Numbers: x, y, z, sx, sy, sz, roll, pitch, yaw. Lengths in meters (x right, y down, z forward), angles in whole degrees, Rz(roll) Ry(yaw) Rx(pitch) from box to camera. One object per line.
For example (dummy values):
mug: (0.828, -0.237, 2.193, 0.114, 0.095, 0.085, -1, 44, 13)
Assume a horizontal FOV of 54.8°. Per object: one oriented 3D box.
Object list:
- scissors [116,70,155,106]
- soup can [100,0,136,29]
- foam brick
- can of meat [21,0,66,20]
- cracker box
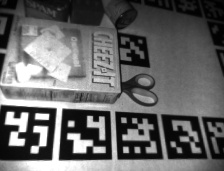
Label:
scissors: (0.000, 0.003, 0.489, 0.204, 0.016, 0.087, 1, 67, -17)
soup can: (0.009, -0.213, 0.580, 0.068, 0.068, 0.101, -32, 74, -26)
foam brick: (-0.070, -0.196, 0.548, 0.079, 0.051, 0.052, -4, 69, -19)
can of meat: (-0.157, -0.184, 0.493, 0.102, 0.083, 0.058, 19, 63, -9)
cracker box: (-0.104, -0.053, 0.445, 0.215, 0.072, 0.163, 0, 66, -14)
